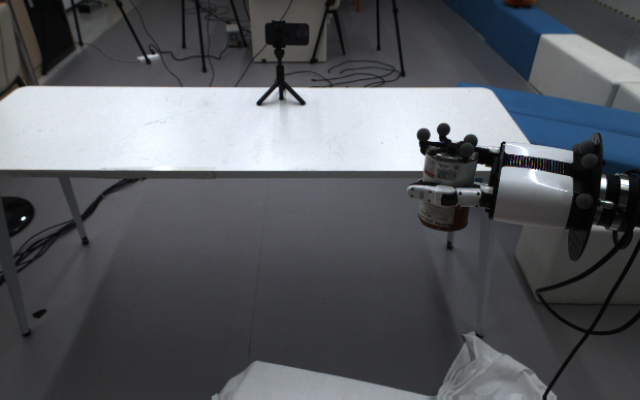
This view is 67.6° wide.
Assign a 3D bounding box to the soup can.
[{"bbox_3d":[0.171,-0.018,0.649,0.067,0.101,0.067,1,25,0],"label":"soup can"}]
